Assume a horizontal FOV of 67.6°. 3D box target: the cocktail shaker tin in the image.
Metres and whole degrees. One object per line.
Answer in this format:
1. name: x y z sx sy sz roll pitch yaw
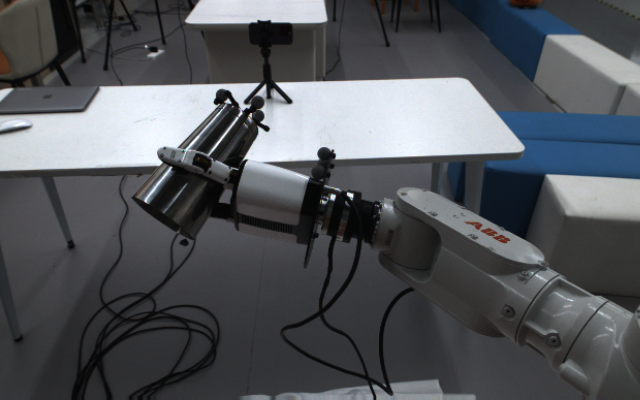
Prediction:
1. cocktail shaker tin: -0.155 -0.048 0.634 0.093 0.093 0.170 22 67 26
